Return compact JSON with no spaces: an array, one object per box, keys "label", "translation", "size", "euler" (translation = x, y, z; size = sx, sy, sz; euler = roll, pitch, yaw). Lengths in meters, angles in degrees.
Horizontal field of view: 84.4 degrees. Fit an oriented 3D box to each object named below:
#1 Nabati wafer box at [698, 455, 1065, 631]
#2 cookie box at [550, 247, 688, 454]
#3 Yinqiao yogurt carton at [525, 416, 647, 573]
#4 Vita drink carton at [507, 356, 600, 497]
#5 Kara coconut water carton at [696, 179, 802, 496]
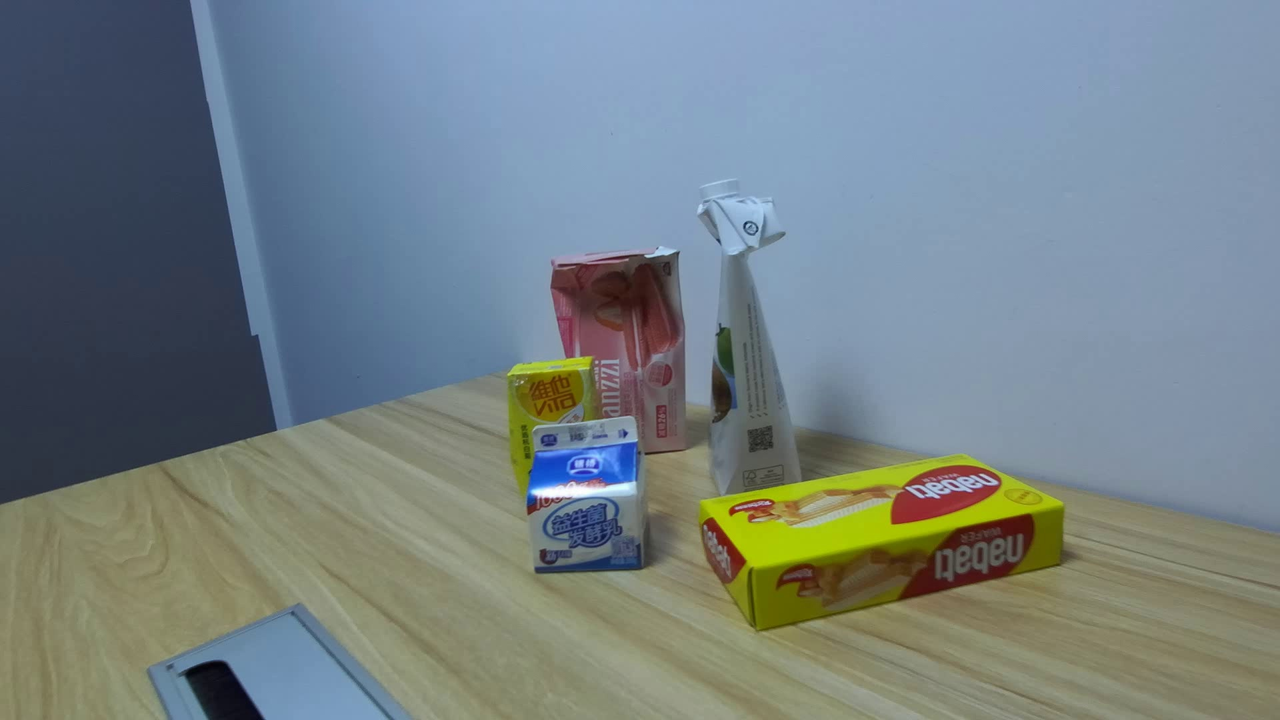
[{"label":"Nabati wafer box","translation":[0.147,0.107,0.442],"size":[0.203,0.042,0.092],"euler":[-7,14,-12]},{"label":"cookie box","translation":[-0.017,-0.005,0.640],"size":[0.118,0.184,0.055],"euler":[-5,14,2]},{"label":"Yinqiao yogurt carton","translation":[-0.035,0.083,0.477],"size":[0.075,0.092,0.074],"euler":[-4,15,5]},{"label":"Vita drink carton","translation":[-0.068,0.055,0.568],"size":[0.076,0.109,0.043],"euler":[-4,16,2]},{"label":"Kara coconut water carton","translation":[0.081,-0.016,0.544],"size":[0.069,0.238,0.115],"euler":[-6,13,0]}]
